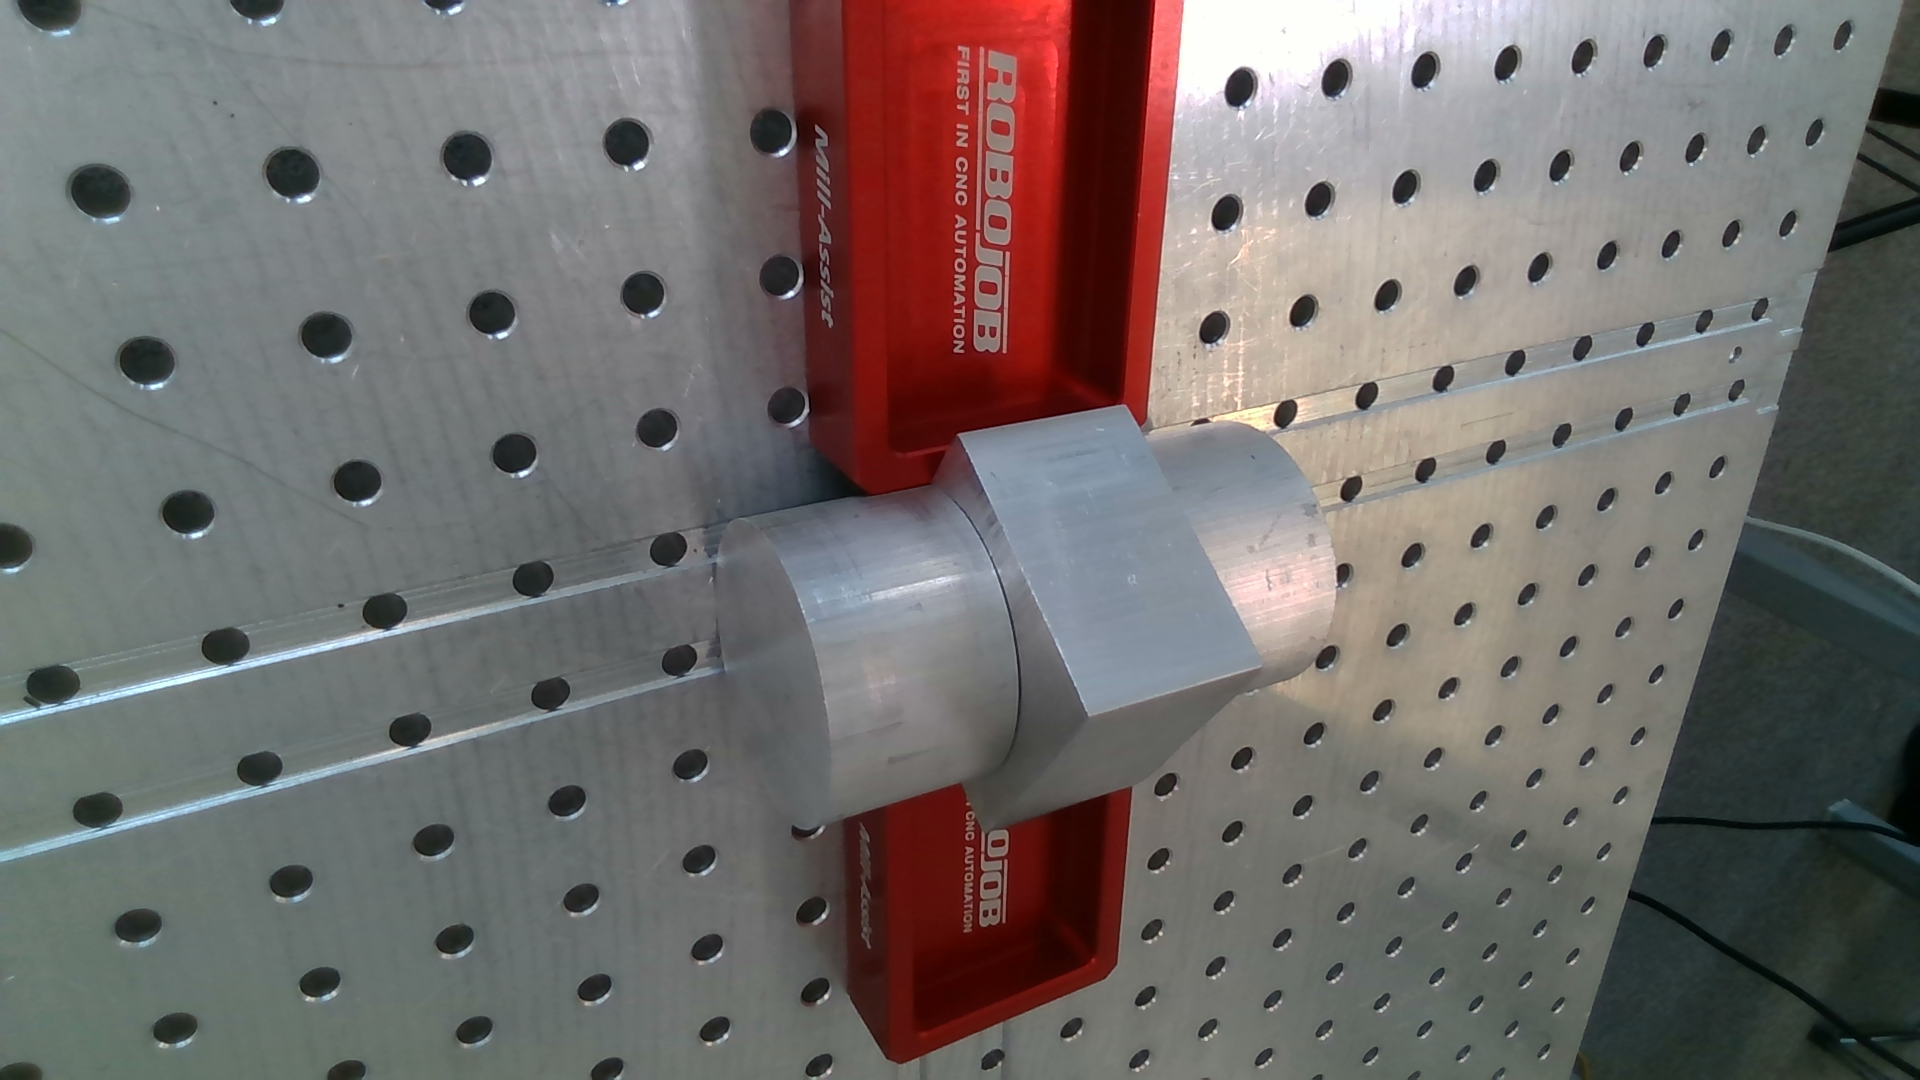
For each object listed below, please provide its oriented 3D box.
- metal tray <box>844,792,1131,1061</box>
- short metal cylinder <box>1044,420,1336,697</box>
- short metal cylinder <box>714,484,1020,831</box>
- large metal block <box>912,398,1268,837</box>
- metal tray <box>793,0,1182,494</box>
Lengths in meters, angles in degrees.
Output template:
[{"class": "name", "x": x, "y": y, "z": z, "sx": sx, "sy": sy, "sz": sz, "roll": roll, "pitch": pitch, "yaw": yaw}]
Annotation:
[{"class": "metal tray", "x": 0.010, "y": 0.099, "z": 0.449, "sx": 0.090, "sy": 0.030, "sz": 0.130, "roll": -14, "pitch": 121, "yaw": -25}, {"class": "short metal cylinder", "x": 0.062, "y": 0.008, "z": 0.400, "sx": 0.050, "sy": 0.080, "sz": 0.080, "roll": -13, "pitch": 121, "yaw": -26}, {"class": "short metal cylinder", "x": -0.027, "y": 0.029, "z": 0.356, "sx": 0.050, "sy": 0.080, "sz": 0.080, "roll": -13, "pitch": 121, "yaw": -26}, {"class": "large metal block", "x": 0.025, "y": 0.022, "z": 0.365, "sx": 0.050, "sy": 0.080, "sz": 0.080, "roll": -13, "pitch": 155, "yaw": -26}, {"class": "metal tray", "x": 0.007, "y": -0.083, "z": 0.348, "sx": 0.090, "sy": 0.030, "sz": 0.130, "roll": -13, "pitch": 121, "yaw": -25}]
